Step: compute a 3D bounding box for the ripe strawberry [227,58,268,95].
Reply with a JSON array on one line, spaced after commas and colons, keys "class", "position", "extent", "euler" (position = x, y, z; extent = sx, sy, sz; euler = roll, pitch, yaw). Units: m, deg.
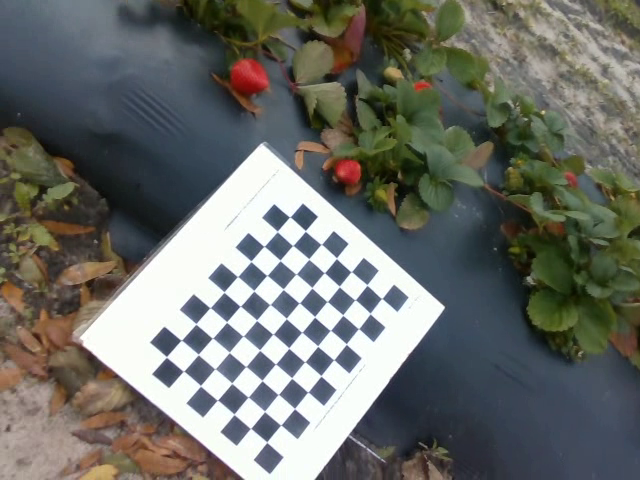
[{"class": "ripe strawberry", "position": [-0.076, -0.190, 0.798], "extent": [0.065, 0.046, 0.043], "euler": [30, -22, 44]}]

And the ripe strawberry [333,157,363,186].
[{"class": "ripe strawberry", "position": [0.033, -0.082, 0.812], "extent": [0.037, 0.041, 0.042], "euler": [-36, 3, 23]}]
